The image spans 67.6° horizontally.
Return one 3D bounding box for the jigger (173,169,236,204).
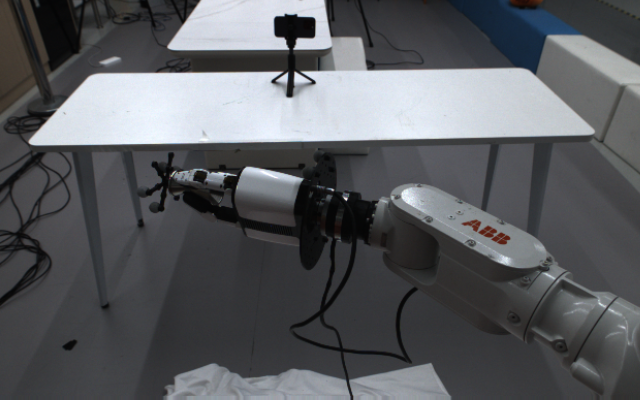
[{"bbox_3d":[-0.171,-0.023,0.693,0.071,0.043,0.043,9,35,16],"label":"jigger"}]
